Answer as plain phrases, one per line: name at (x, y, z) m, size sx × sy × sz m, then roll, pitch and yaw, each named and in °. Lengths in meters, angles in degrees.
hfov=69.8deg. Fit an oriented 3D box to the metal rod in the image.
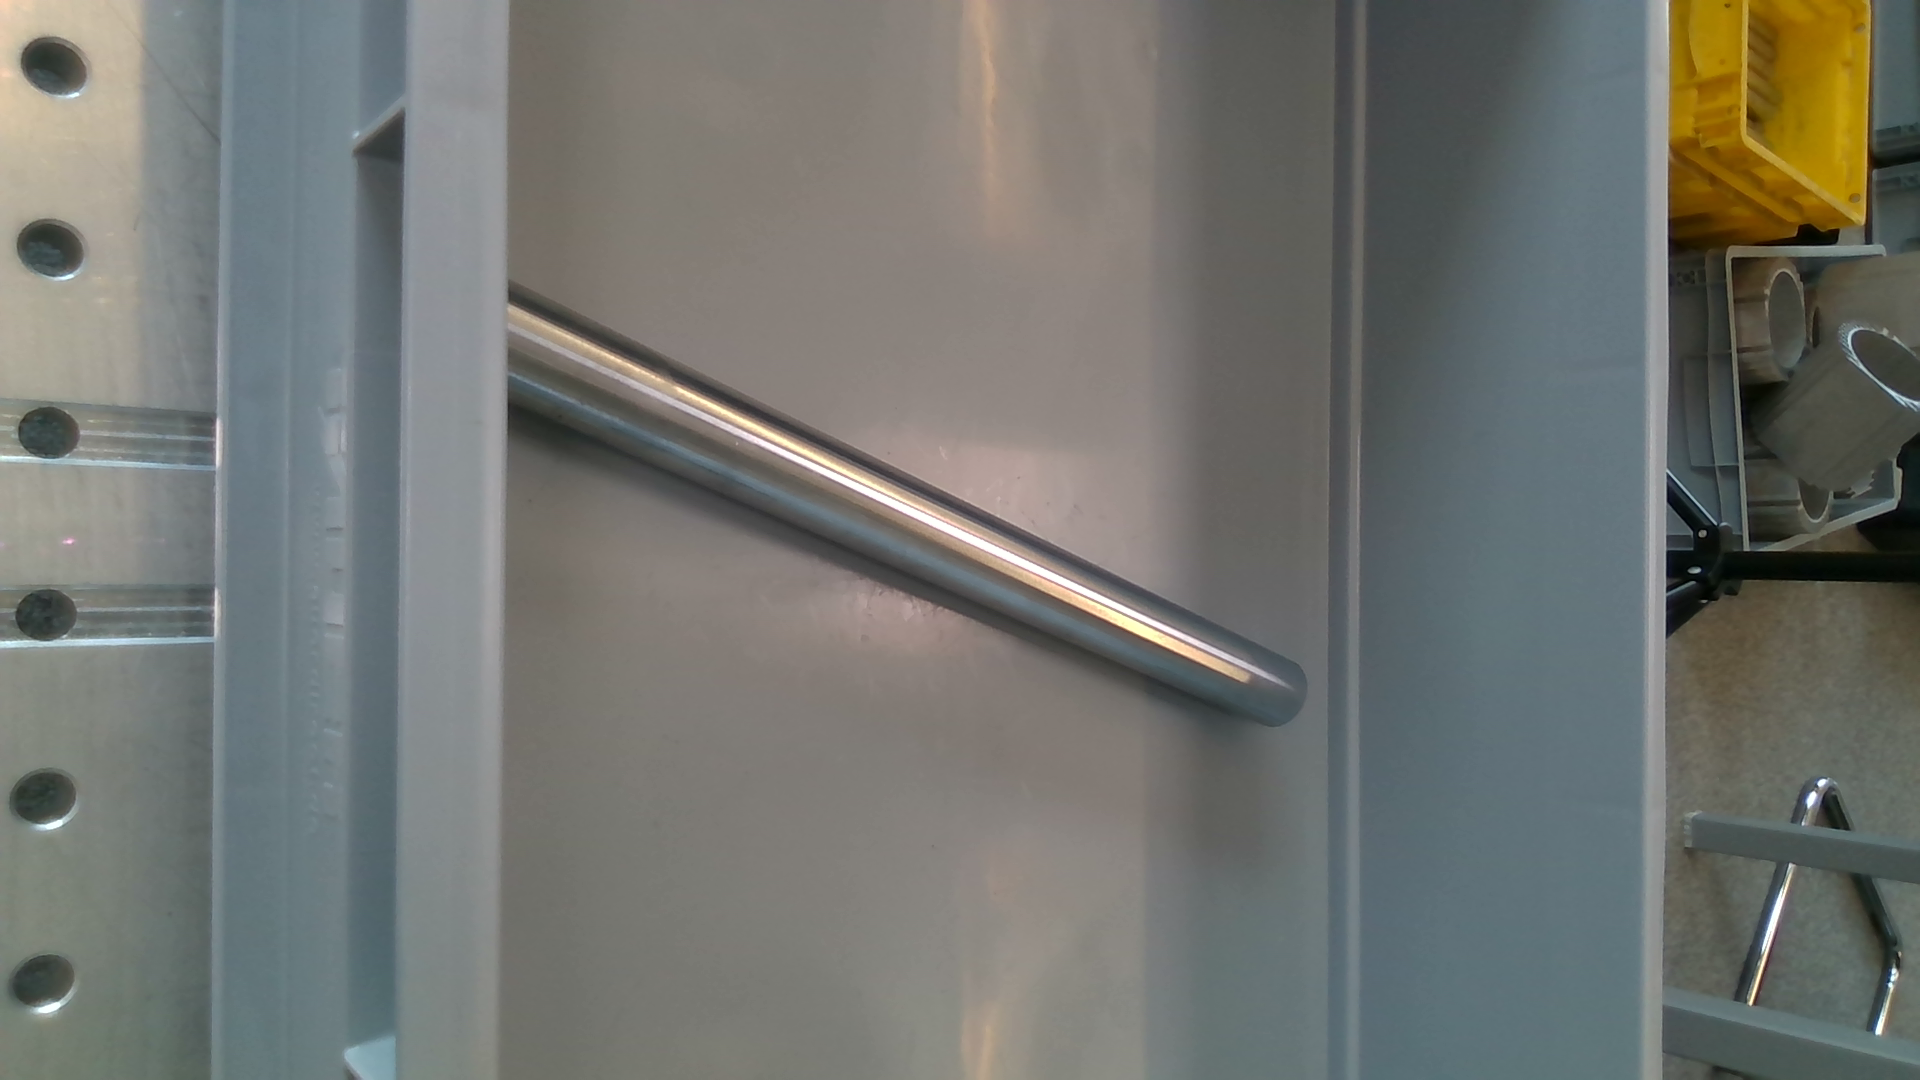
metal rod at (0.002, 0.002, 0.390) m, size 0.301 × 0.025 × 0.025 m, roll 25°, pitch 74°, yaw -37°
